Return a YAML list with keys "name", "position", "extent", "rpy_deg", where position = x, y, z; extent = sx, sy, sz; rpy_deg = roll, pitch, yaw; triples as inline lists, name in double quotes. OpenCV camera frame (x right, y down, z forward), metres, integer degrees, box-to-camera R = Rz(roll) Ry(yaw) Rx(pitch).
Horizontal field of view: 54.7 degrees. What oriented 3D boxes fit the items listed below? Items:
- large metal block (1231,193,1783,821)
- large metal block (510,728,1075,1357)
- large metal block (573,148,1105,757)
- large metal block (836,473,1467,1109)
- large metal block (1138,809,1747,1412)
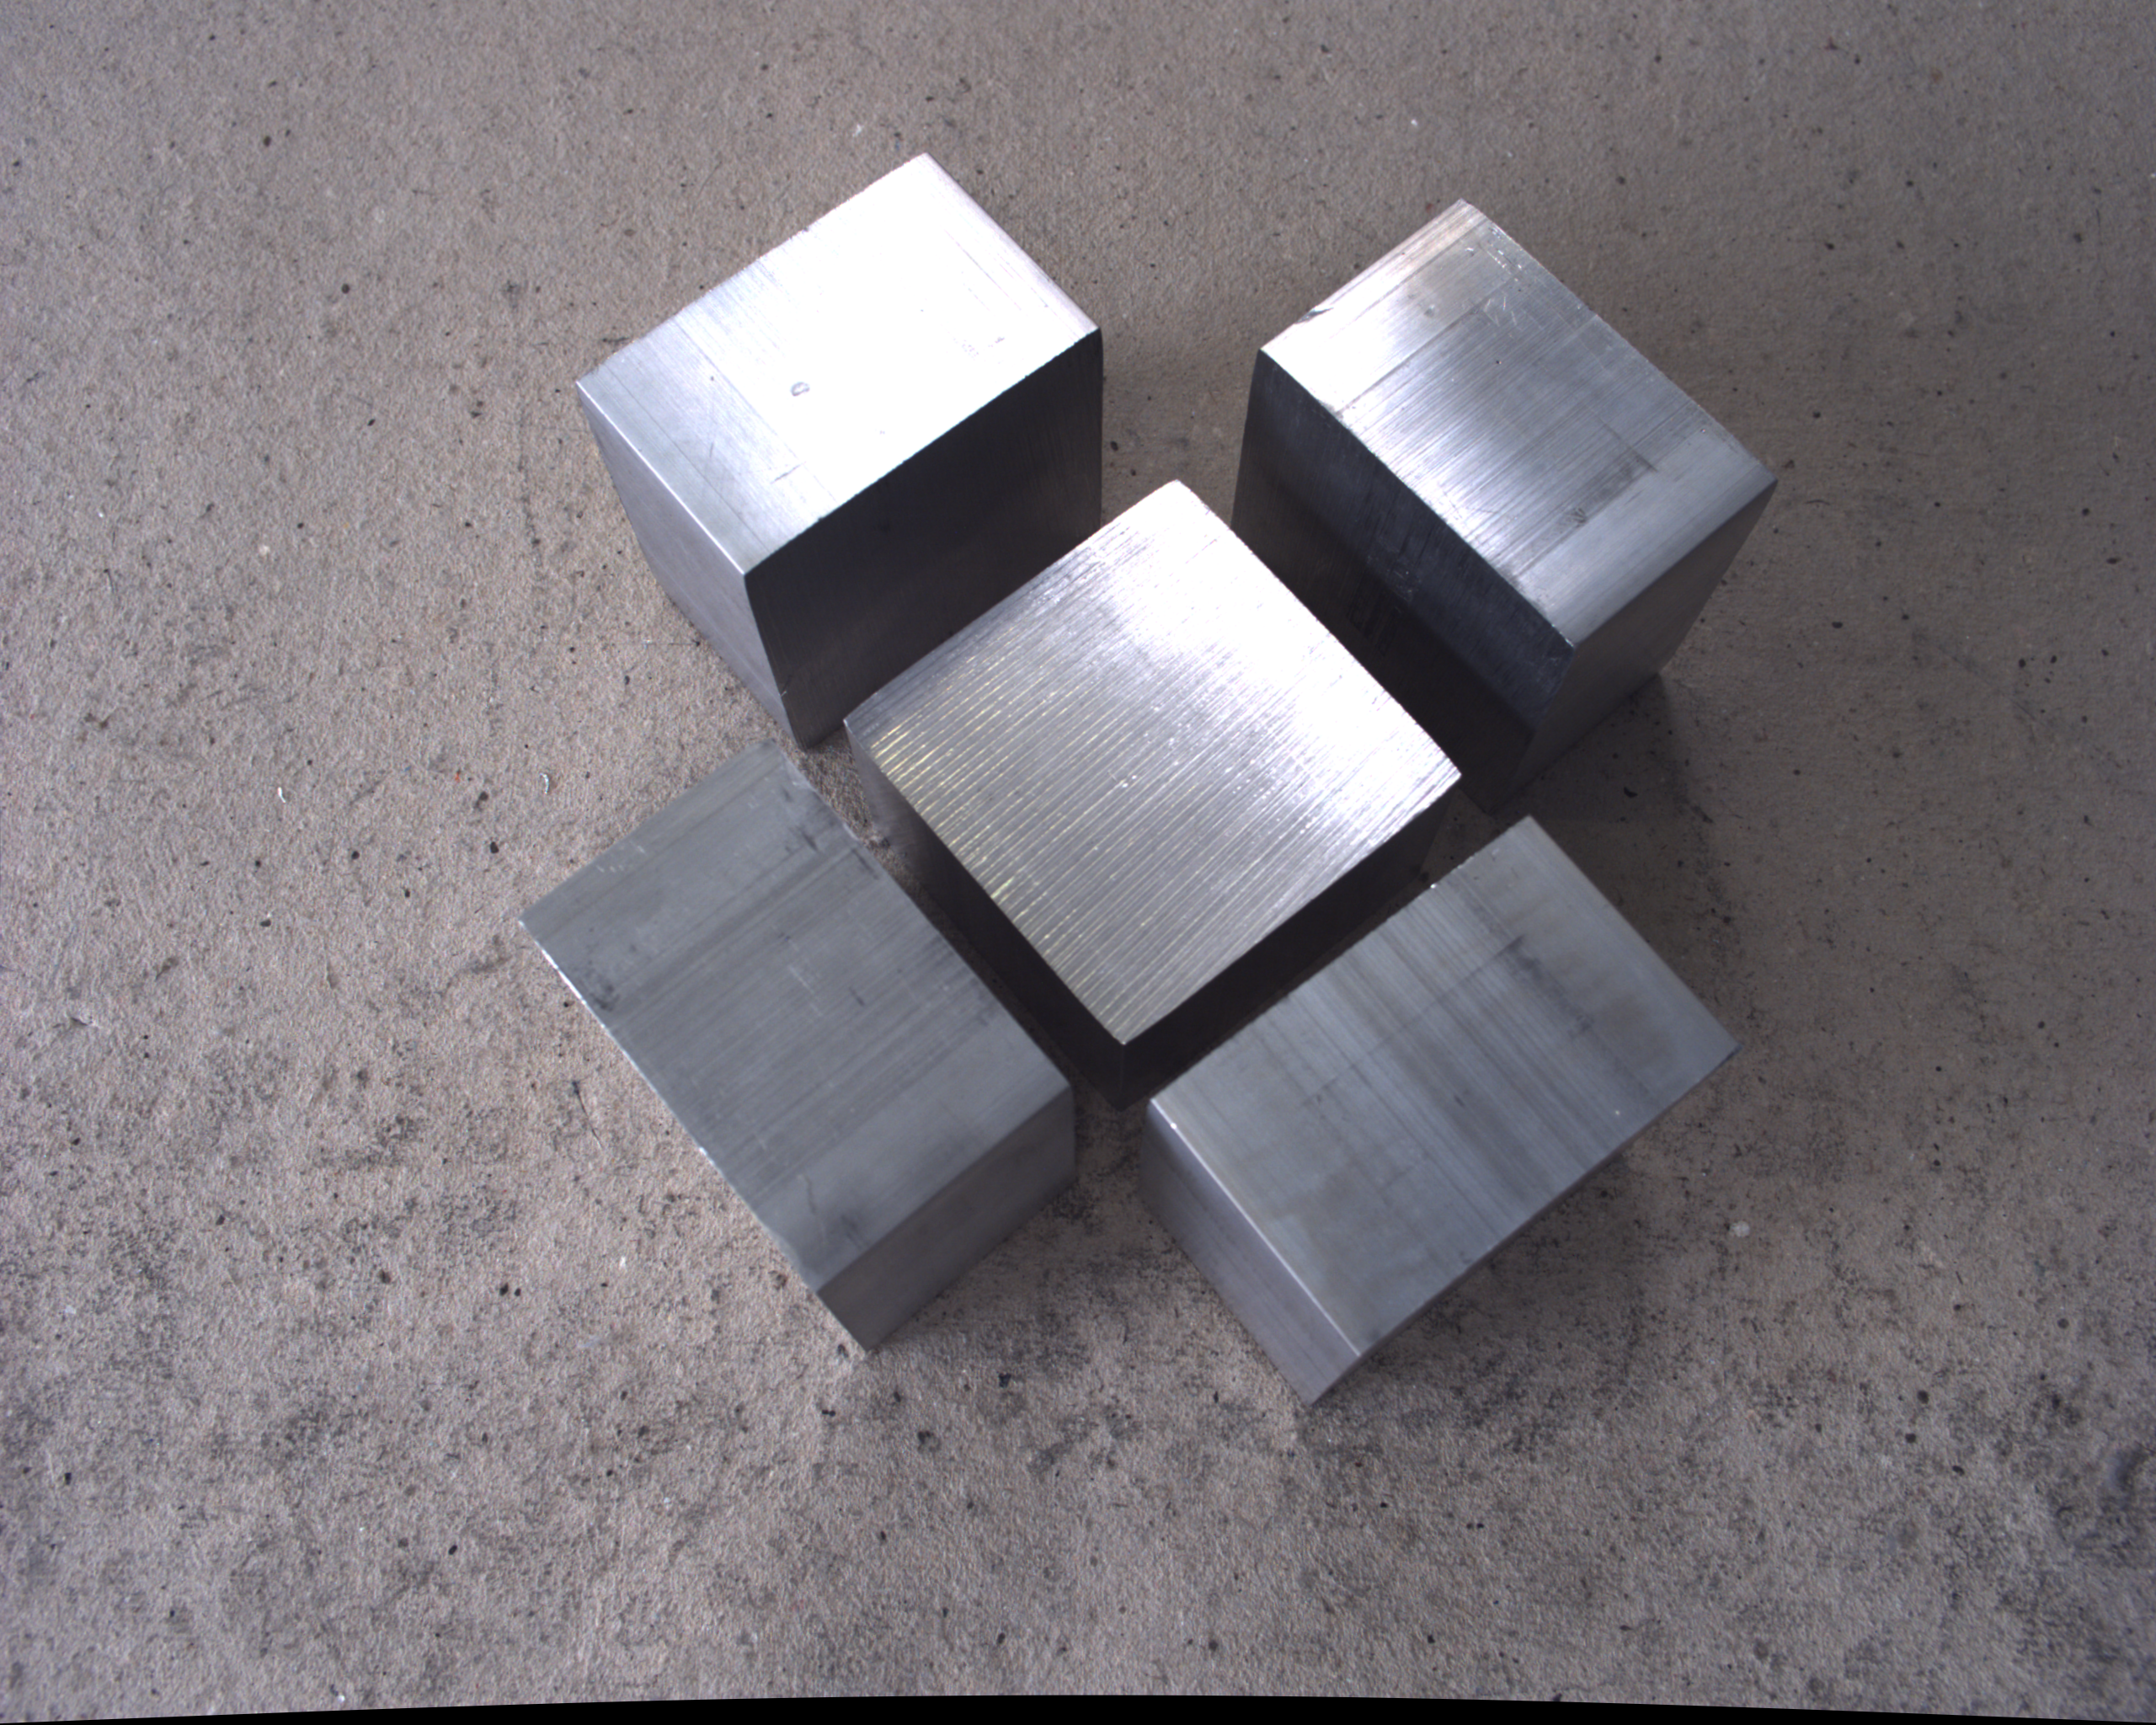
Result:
- name: "large metal block"
  position: [0.077, -0.066, 0.404]
  extent: [0.050, 0.080, 0.080]
  rpy_deg: [-39, 75, -13]
- name: "large metal block"
  position: [-0.046, 0.035, 0.366]
  extent: [0.050, 0.080, 0.080]
  rpy_deg: [-38, 75, -13]
- name: "large metal block"
  position: [-0.042, -0.077, 0.409]
  extent: [0.080, 0.080, 0.050]
  rpy_deg: [-38, 74, -13]
- name: "large metal block"
  position: [0.013, -0.013, 0.398]
  extent: [0.080, 0.050, 0.080]
  rpy_deg: [-38, 74, -13]
- name: "large metal block"
  position: [0.058, 0.046, 0.363]
  extent: [0.080, 0.080, 0.050]
  rpy_deg: [-36, 73, -12]
